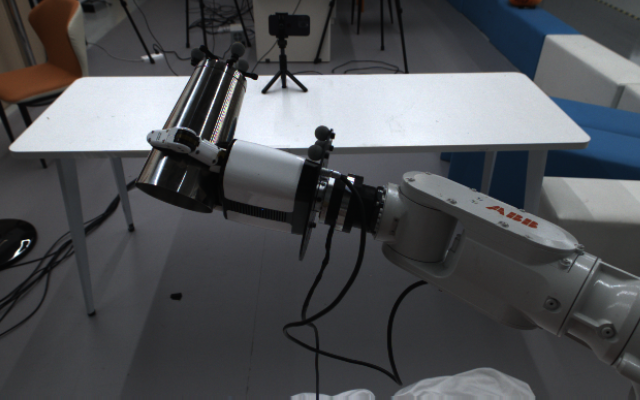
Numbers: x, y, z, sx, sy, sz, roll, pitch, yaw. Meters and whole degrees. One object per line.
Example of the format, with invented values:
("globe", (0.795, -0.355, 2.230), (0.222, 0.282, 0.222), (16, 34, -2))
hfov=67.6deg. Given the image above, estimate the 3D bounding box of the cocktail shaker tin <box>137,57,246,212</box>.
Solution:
("cocktail shaker tin", (-0.147, -0.079, 0.583), (0.093, 0.093, 0.170), (12, 74, 15))
